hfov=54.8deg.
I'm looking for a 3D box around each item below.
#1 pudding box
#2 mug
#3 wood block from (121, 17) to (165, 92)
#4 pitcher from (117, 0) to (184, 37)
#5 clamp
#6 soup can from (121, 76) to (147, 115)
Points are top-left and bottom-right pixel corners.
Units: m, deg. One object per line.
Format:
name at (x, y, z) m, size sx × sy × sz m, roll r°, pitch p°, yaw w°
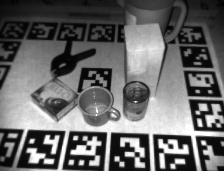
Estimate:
pudding box at (-0.175, 0.025, 0.637) m, size 0.112 × 0.039 × 0.090 m, roll 33°, pitch 65°, yaw 23°
mug at (-0.036, 0.052, 0.586) m, size 0.116 × 0.082 × 0.094 m, roll 32°, pitch 59°, yaw 23°
wood block at (0.076, -0.073, 0.593) m, size 0.090 × 0.207 × 0.090 m, roll 0°, pitch 55°, yaw -2°
pitcher at (0.106, -0.181, 0.648) m, size 0.188 × 0.244 × 0.132 m, roll -2°, pitch 53°, yaw 4°
clamp at (-0.146, -0.103, 0.732) m, size 0.121 × 0.037 × 0.165 m, roll 30°, pitch 61°, yaw 11°
soup can at (0.057, 0.030, 0.585) m, size 0.068 × 0.102 × 0.067 m, roll -1°, pitch 57°, yaw 2°
